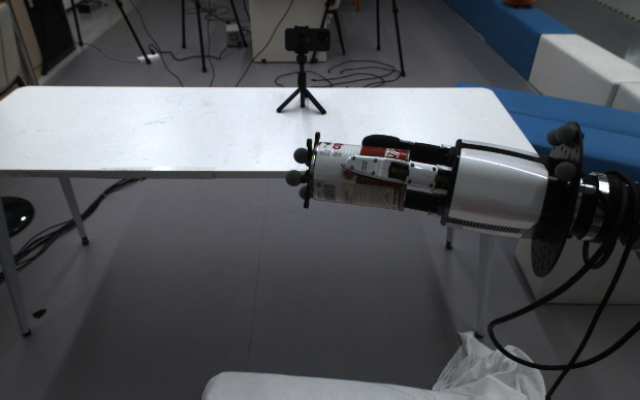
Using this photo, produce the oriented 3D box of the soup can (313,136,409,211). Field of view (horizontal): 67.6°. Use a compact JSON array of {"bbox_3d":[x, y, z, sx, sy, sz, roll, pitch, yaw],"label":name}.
[{"bbox_3d":[0.048,-0.029,0.536,0.101,0.067,0.067,6,35,10],"label":"soup can"}]
